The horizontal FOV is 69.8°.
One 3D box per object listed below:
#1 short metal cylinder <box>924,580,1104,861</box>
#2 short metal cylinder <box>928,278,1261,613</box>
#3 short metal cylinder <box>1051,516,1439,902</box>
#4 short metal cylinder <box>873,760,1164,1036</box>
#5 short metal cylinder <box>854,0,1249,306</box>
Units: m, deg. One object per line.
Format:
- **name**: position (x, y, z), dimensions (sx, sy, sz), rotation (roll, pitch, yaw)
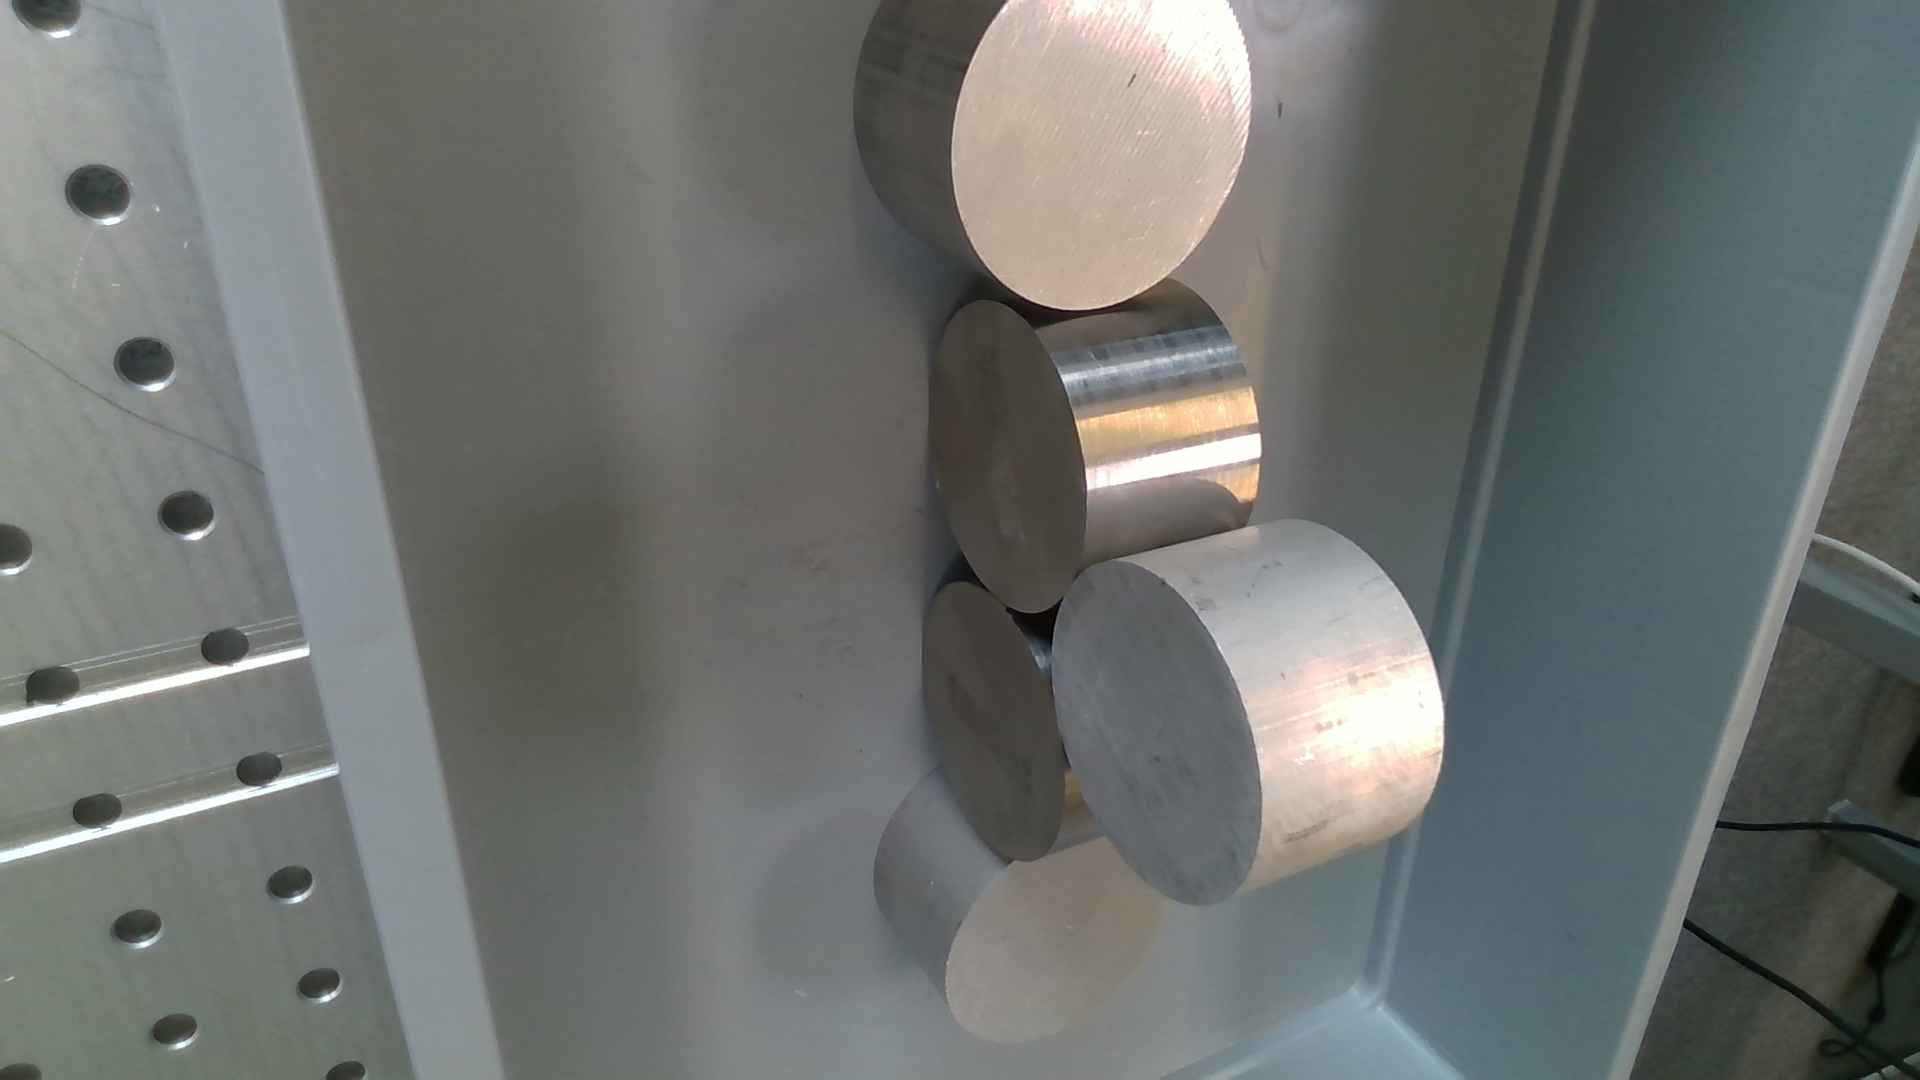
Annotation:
- **short metal cylinder**: position (0.030, 0.046, 0.396), dimensions (0.050, 0.080, 0.080), rotation (-13, 121, -26)
- **short metal cylinder**: position (0.032, -0.026, 0.359), dimensions (0.050, 0.080, 0.080), rotation (-13, 121, -26)
- **short metal cylinder**: position (0.064, 0.038, 0.325), dimensions (0.050, 0.080, 0.080), rotation (-13, 121, -26)
- **short metal cylinder**: position (0.019, 0.111, 0.444), dimensions (0.080, 0.050, 0.080), rotation (-14, 122, -25)
- **short metal cylinder**: position (0.021, -0.102, 0.330), dimensions (0.080, 0.050, 0.080), rotation (-14, 122, -25)
